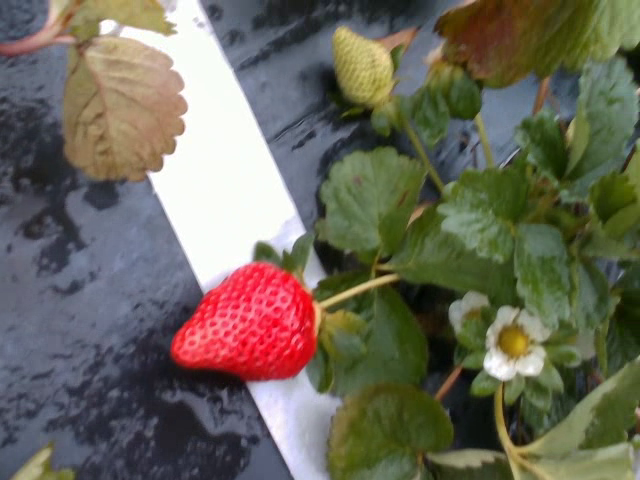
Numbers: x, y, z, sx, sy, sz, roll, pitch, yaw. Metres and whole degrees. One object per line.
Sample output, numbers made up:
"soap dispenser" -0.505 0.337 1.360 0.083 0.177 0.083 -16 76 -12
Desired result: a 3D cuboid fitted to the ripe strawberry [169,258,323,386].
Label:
"ripe strawberry" -0.024 0.025 0.189 0.038 0.041 0.051 19 21 42
